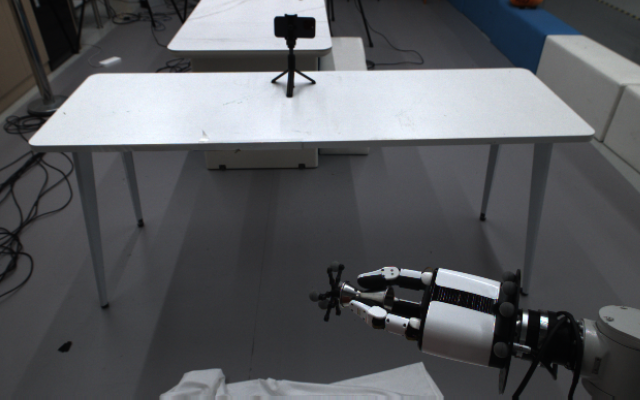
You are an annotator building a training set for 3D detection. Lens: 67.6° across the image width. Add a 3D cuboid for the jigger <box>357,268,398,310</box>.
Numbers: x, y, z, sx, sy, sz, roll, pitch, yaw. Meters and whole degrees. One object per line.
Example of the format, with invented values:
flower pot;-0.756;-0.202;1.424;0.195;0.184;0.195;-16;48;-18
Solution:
jigger;0.074;0.132;0.690;0.071;0.043;0.043;3;32;27
